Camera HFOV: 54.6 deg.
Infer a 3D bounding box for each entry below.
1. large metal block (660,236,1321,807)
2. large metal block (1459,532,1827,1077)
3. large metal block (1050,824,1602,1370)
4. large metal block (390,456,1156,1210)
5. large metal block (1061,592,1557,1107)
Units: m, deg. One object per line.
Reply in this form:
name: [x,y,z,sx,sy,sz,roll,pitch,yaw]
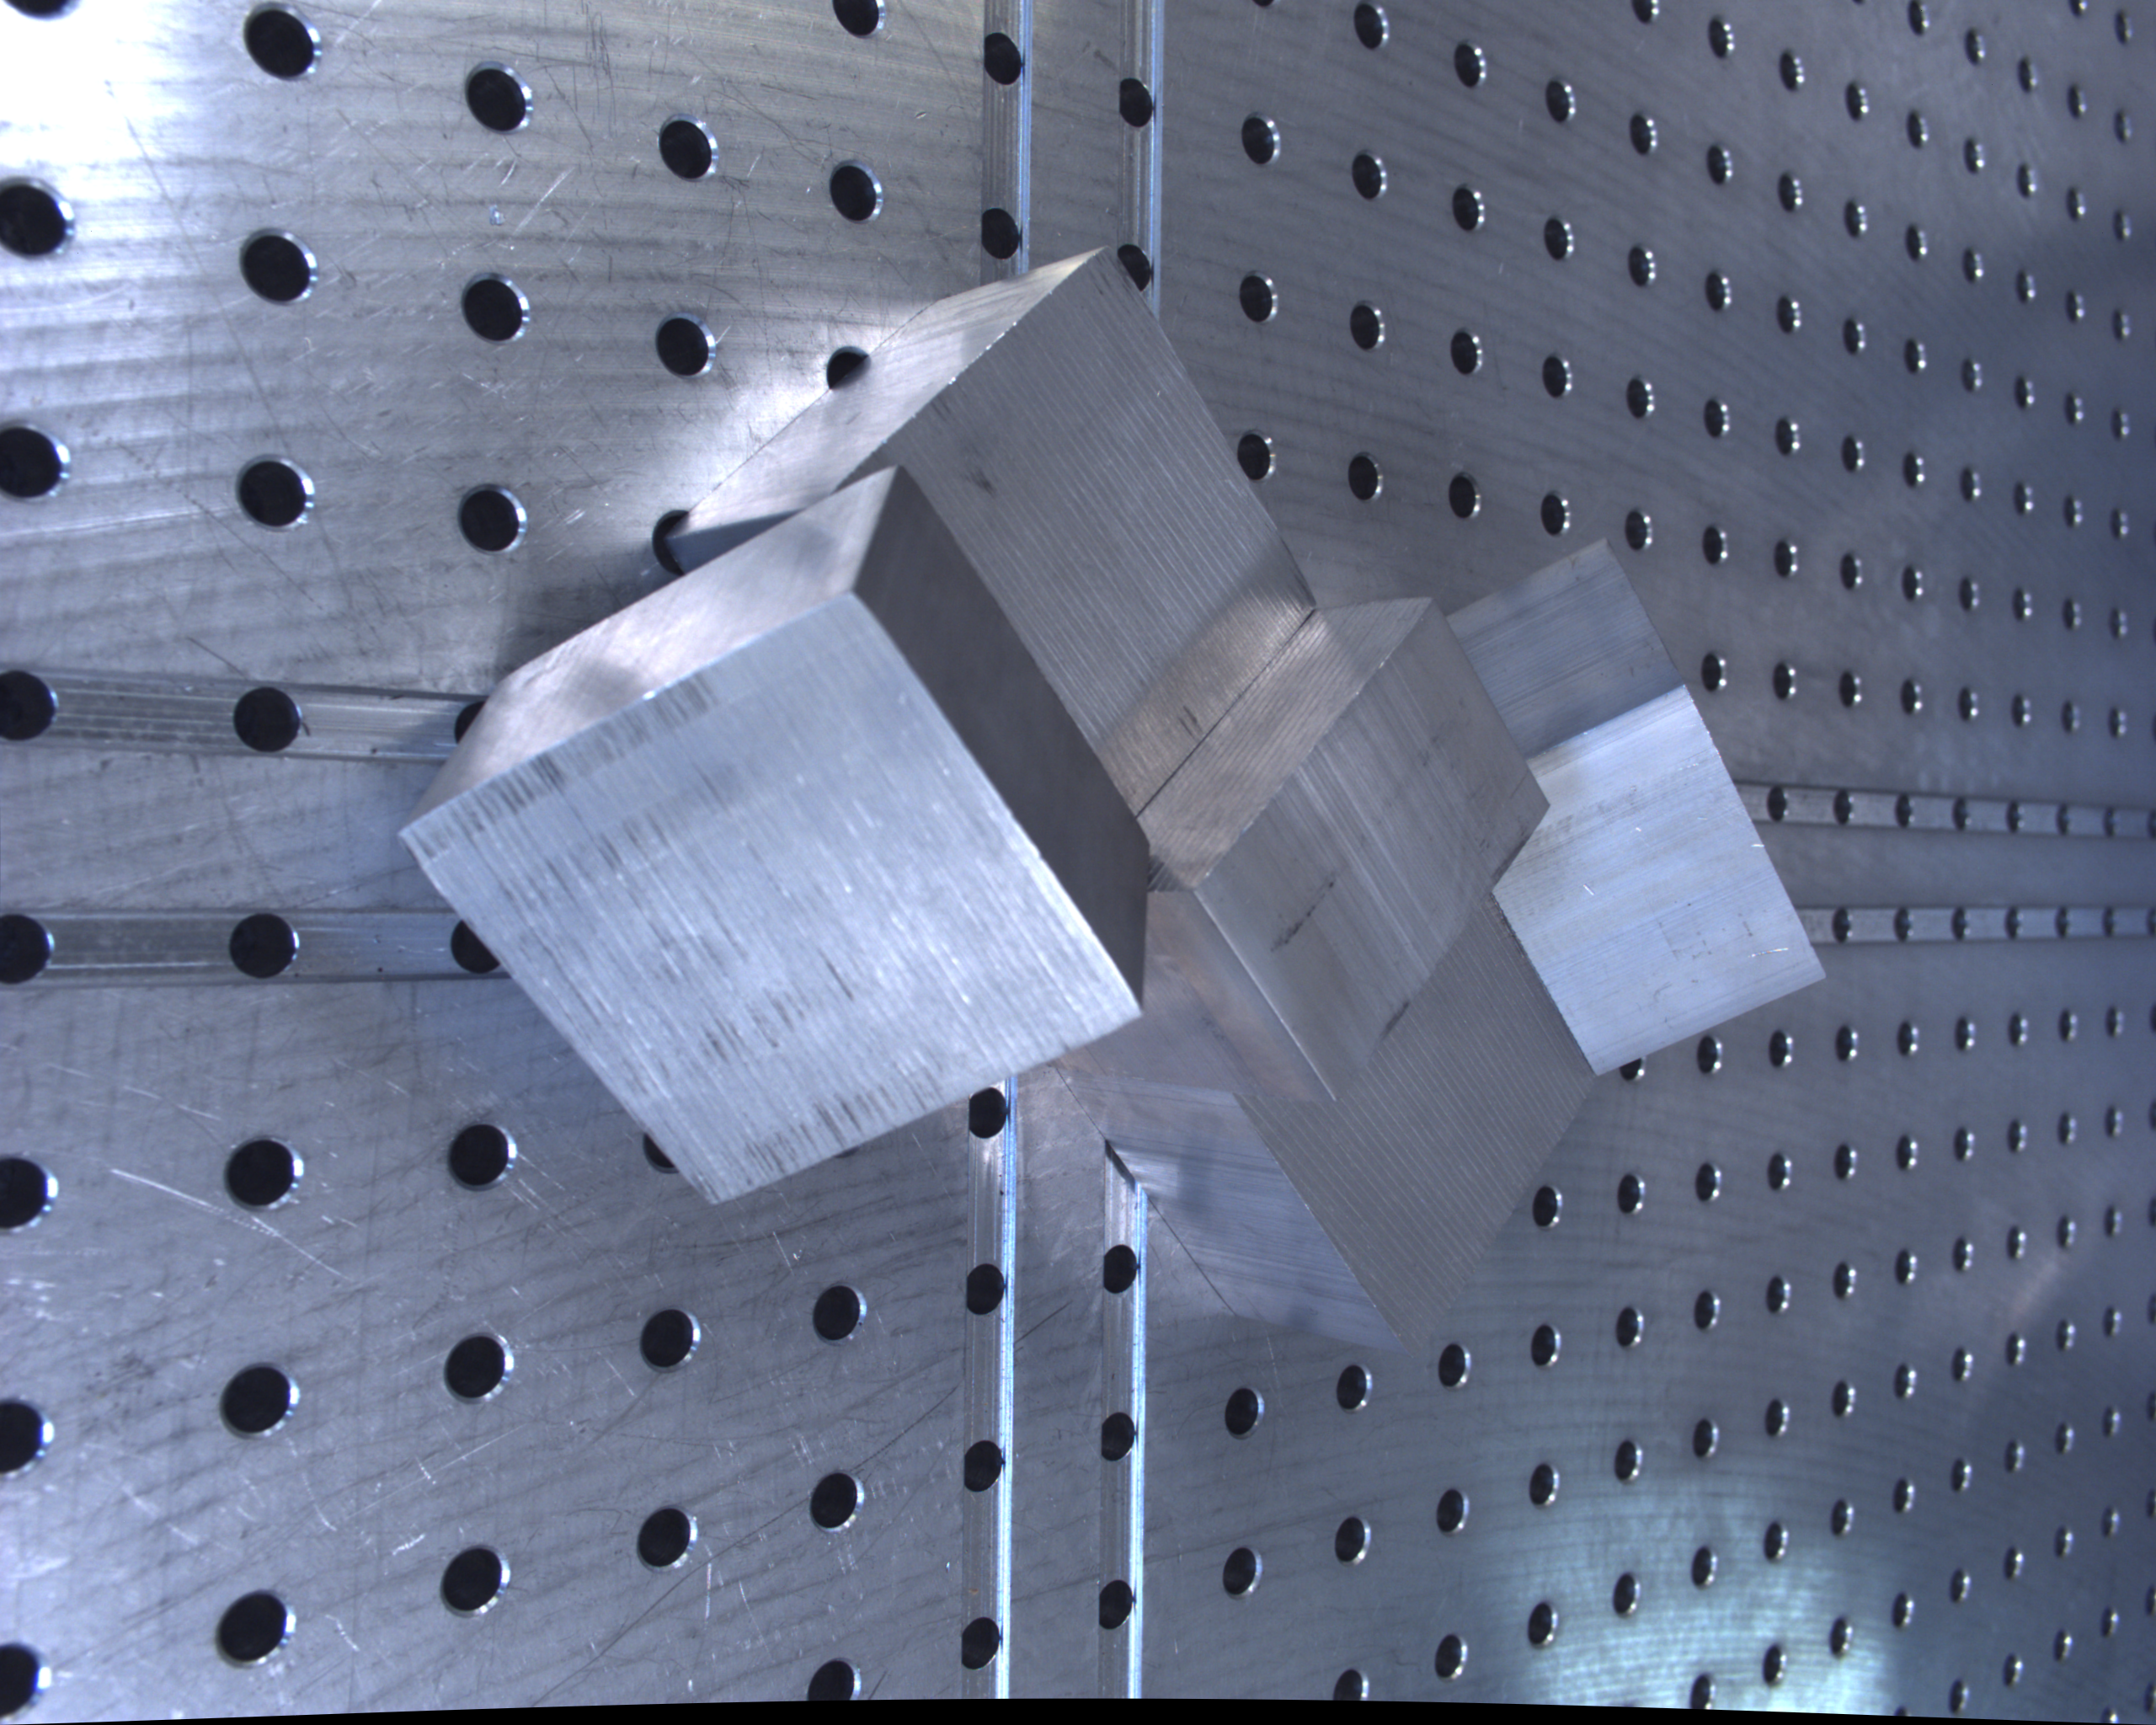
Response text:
large metal block: [-0.013,-0.053,0.381,0.080,0.050,0.080,-48,119,-27]
large metal block: [0.117,-0.014,0.462,0.080,0.050,0.080,56,18,-26]
large metal block: [0.054,0.045,0.436,0.080,0.050,0.080,-48,117,-29]
large metal block: [-0.043,-0.003,0.327,0.080,0.080,0.050,56,19,-25]
large metal block: [0.029,-0.004,0.396,0.080,0.080,0.050,-50,121,-28]
